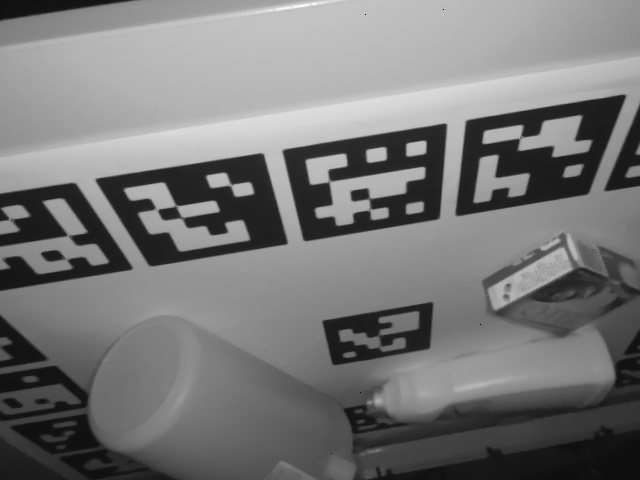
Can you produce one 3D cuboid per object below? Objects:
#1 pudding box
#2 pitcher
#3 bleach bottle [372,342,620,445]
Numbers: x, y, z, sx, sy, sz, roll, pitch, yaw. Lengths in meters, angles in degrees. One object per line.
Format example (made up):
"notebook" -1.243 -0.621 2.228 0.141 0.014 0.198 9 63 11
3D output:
"pudding box" 0.213 0.054 0.608 0.115 0.039 0.088 23 137 -31
"pitcher" -0.090 0.168 0.649 0.186 0.134 0.243 5 150 42
"bleach bottle" 0.180 0.176 0.739 0.250 0.068 0.102 -11 137 5
